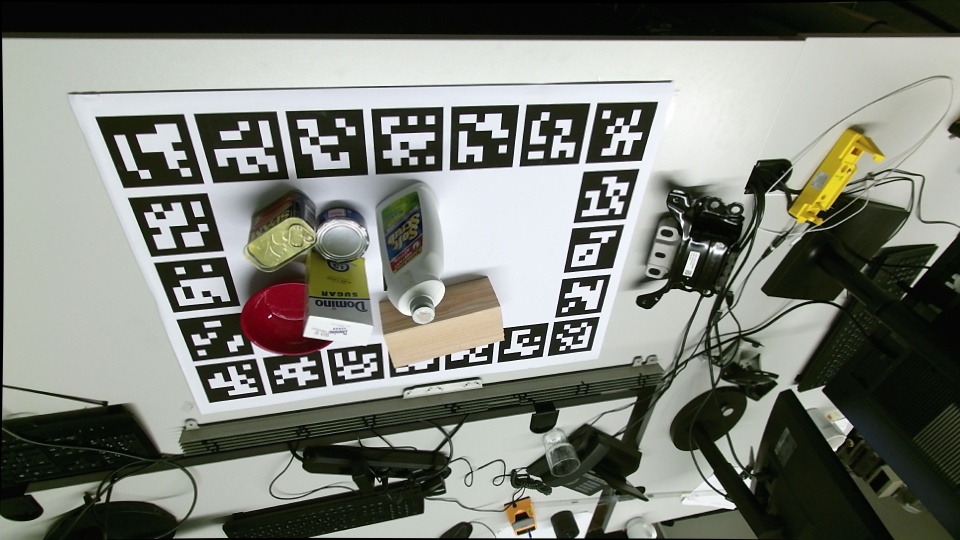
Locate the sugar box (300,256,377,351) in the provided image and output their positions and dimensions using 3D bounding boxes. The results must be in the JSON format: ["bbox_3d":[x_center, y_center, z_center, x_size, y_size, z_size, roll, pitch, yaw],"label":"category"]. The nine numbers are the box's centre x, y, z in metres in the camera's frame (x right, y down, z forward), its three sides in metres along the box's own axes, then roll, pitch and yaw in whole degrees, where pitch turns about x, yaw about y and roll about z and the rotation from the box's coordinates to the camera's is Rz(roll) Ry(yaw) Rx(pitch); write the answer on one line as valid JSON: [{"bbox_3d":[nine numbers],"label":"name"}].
[{"bbox_3d":[-0.219,0.046,0.815,0.093,0.175,0.045,11,120,-28],"label":"sugar box"}]

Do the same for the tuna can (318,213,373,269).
[{"bbox_3d":[-0.210,-0.046,0.838,0.086,0.033,0.086,-8,125,-12],"label":"tuna can"}]

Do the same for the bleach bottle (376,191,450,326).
[{"bbox_3d":[-0.087,-0.015,0.766,0.103,0.249,0.068,-26,130,3],"label":"bleach bottle"}]

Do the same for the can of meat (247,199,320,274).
[{"bbox_3d":[-0.288,-0.048,0.790,0.102,0.083,0.058,-29,132,7],"label":"can of meat"}]

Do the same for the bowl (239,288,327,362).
[{"bbox_3d":[-0.316,0.084,0.895,0.162,0.055,0.162,-11,129,-14],"label":"bowl"}]

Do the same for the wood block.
[{"bbox_3d":[-0.063,0.104,0.968,0.207,0.089,0.091,-13,124,-6],"label":"wood block"}]
